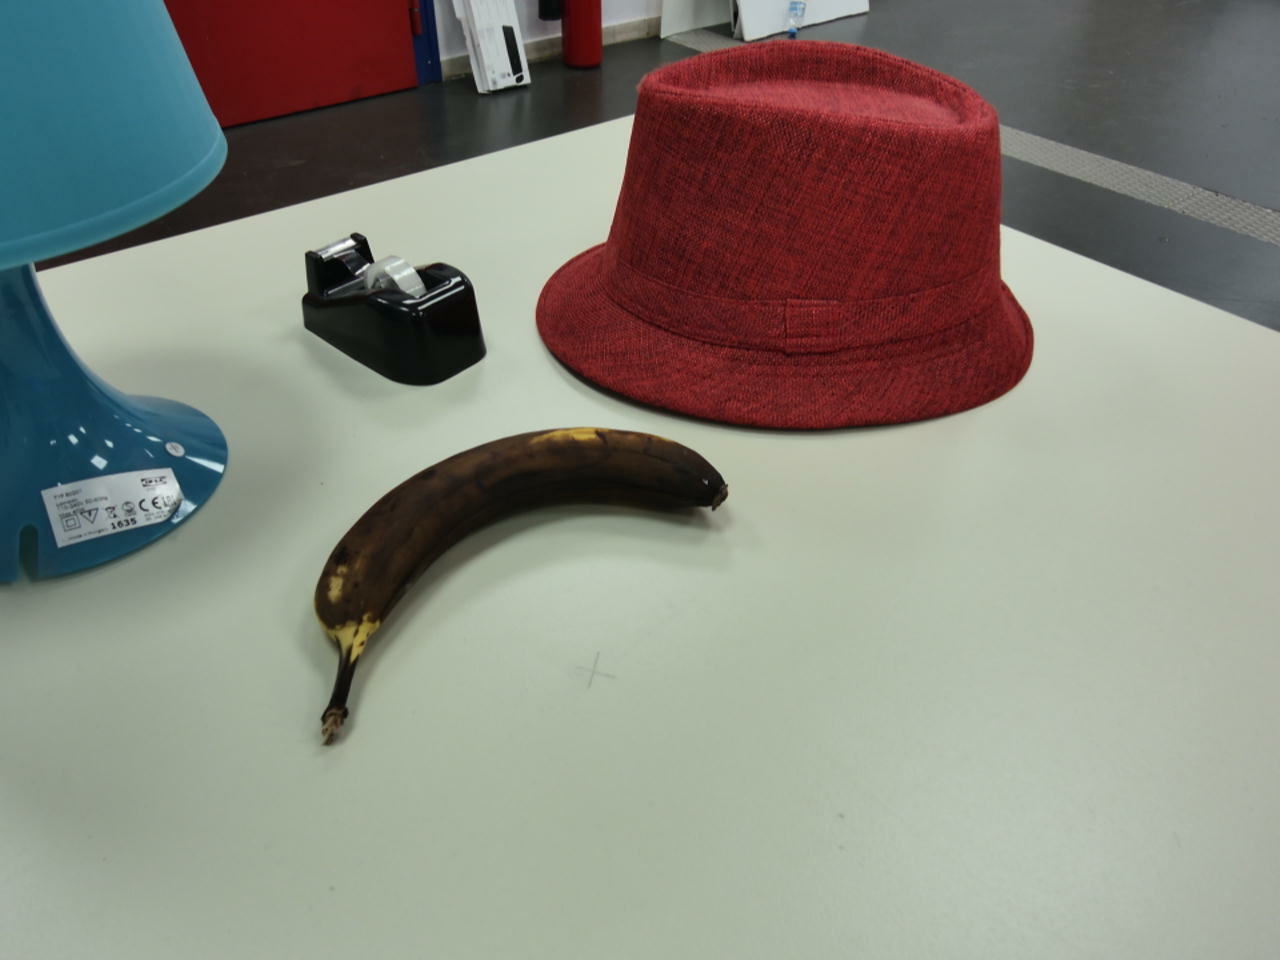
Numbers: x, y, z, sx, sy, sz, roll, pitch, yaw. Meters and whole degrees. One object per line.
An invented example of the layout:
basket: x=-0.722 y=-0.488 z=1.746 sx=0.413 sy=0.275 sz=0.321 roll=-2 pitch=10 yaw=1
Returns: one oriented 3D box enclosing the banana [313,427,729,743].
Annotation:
banana: x=-0.059 y=0.019 z=0.399 sx=0.188 sy=0.034 sz=0.091 roll=-26 pitch=44 yaw=-30
